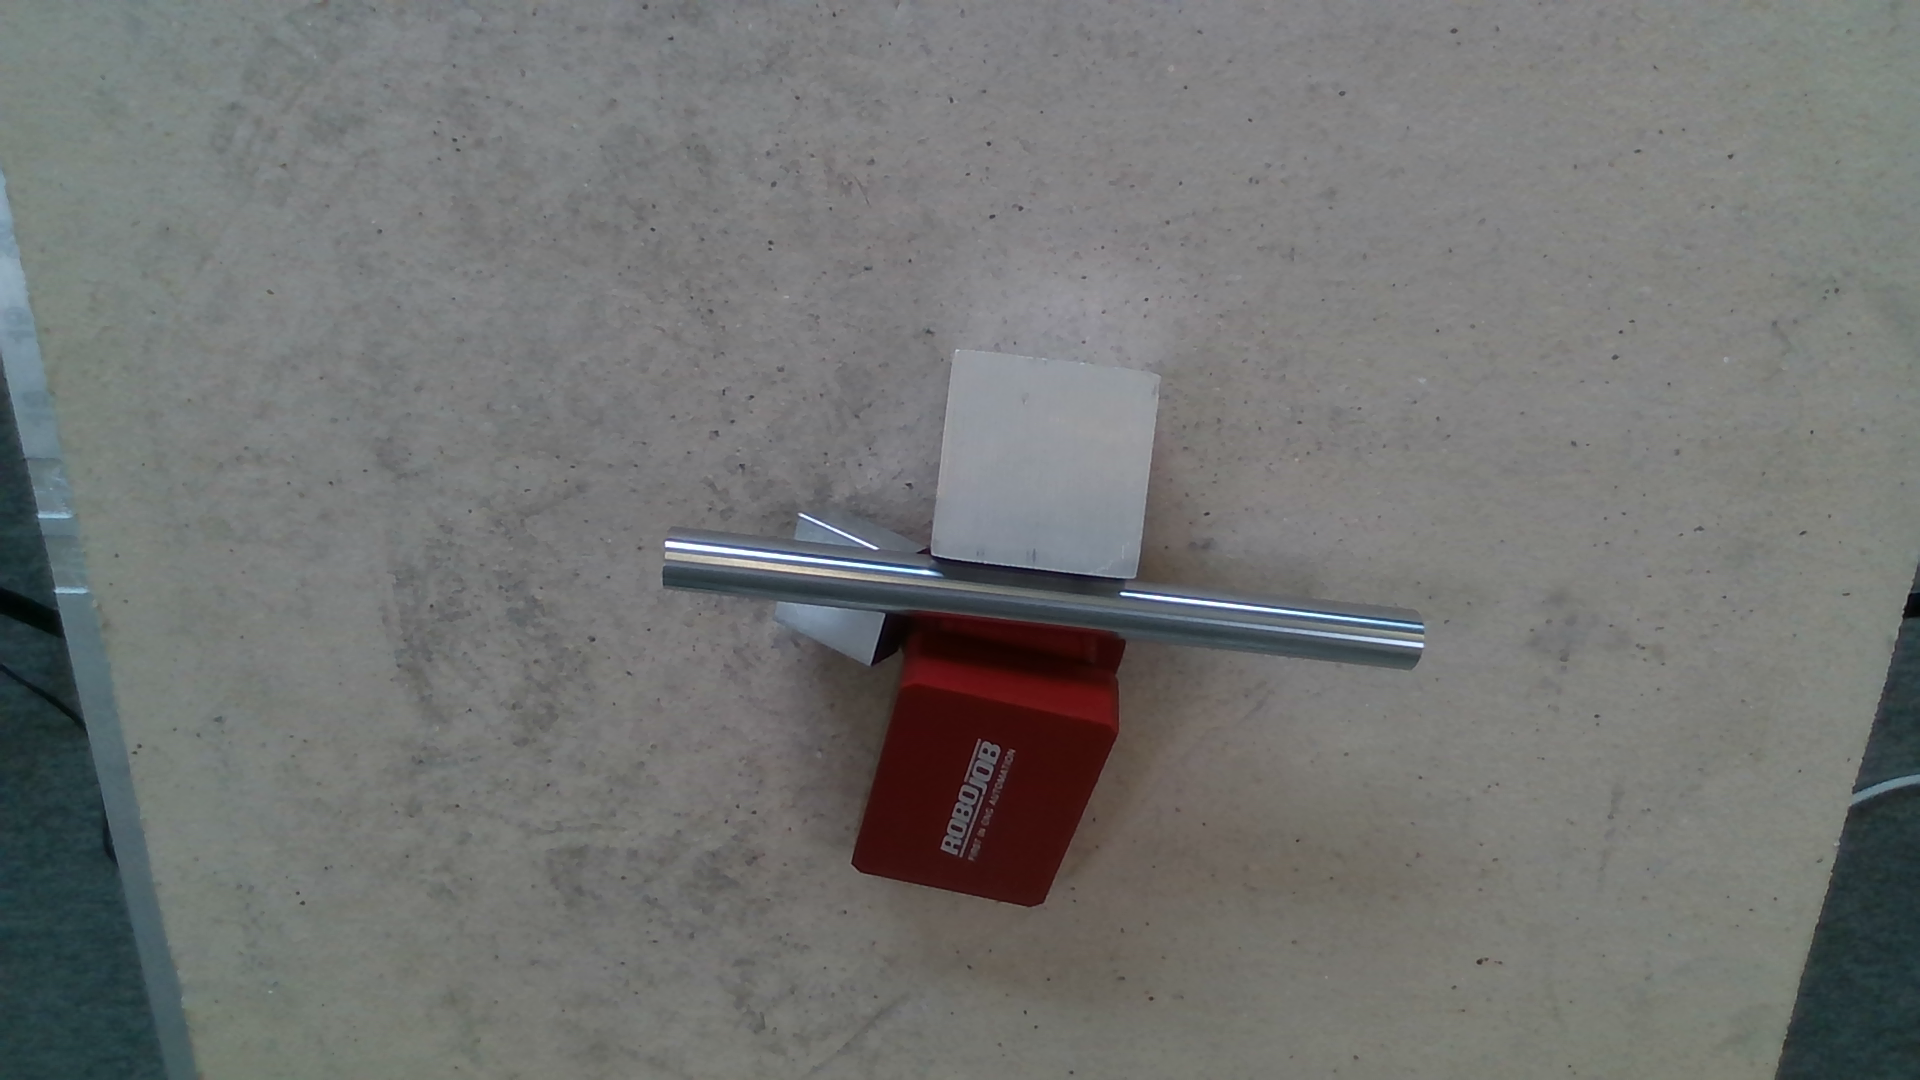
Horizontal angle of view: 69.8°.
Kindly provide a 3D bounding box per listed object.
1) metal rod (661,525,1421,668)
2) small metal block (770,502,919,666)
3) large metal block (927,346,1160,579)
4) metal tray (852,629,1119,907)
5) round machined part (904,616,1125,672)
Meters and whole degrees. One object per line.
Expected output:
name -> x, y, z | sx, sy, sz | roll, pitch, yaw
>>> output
metal rod -> 0.034, 0.023, 0.549 | 0.300, 0.025, 0.025 | 6, 110, -5
small metal block -> -0.047, 0.018, 0.581 | 0.050, 0.025, 0.050 | 23, 110, 19
large metal block -> 0.031, -0.030, 0.549 | 0.080, 0.050, 0.080 | 7, 92, -2
metal tray -> 0.009, 0.102, 0.597 | 0.090, 0.030, 0.130 | 13, 130, -4
round machined part -> 0.022, 0.041, 0.591 | 0.098, 0.042, 0.098 | 0, 110, 0
